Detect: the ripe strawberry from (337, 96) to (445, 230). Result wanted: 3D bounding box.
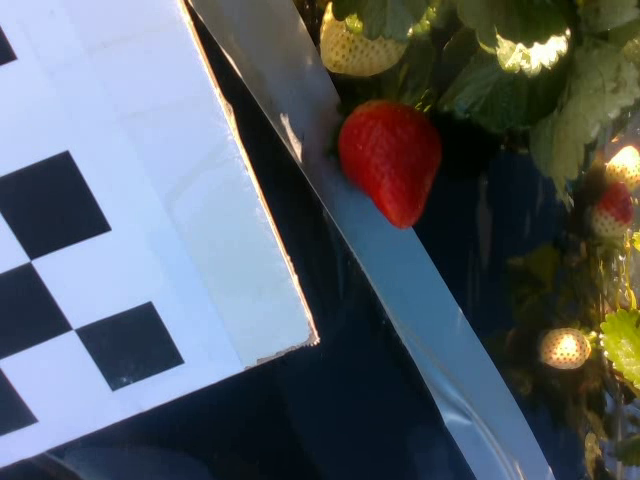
[{"bbox_3d":[0.027,-0.029,0.231,0.045,0.064,0.049,2,-40,-8],"label":"ripe strawberry"}]
